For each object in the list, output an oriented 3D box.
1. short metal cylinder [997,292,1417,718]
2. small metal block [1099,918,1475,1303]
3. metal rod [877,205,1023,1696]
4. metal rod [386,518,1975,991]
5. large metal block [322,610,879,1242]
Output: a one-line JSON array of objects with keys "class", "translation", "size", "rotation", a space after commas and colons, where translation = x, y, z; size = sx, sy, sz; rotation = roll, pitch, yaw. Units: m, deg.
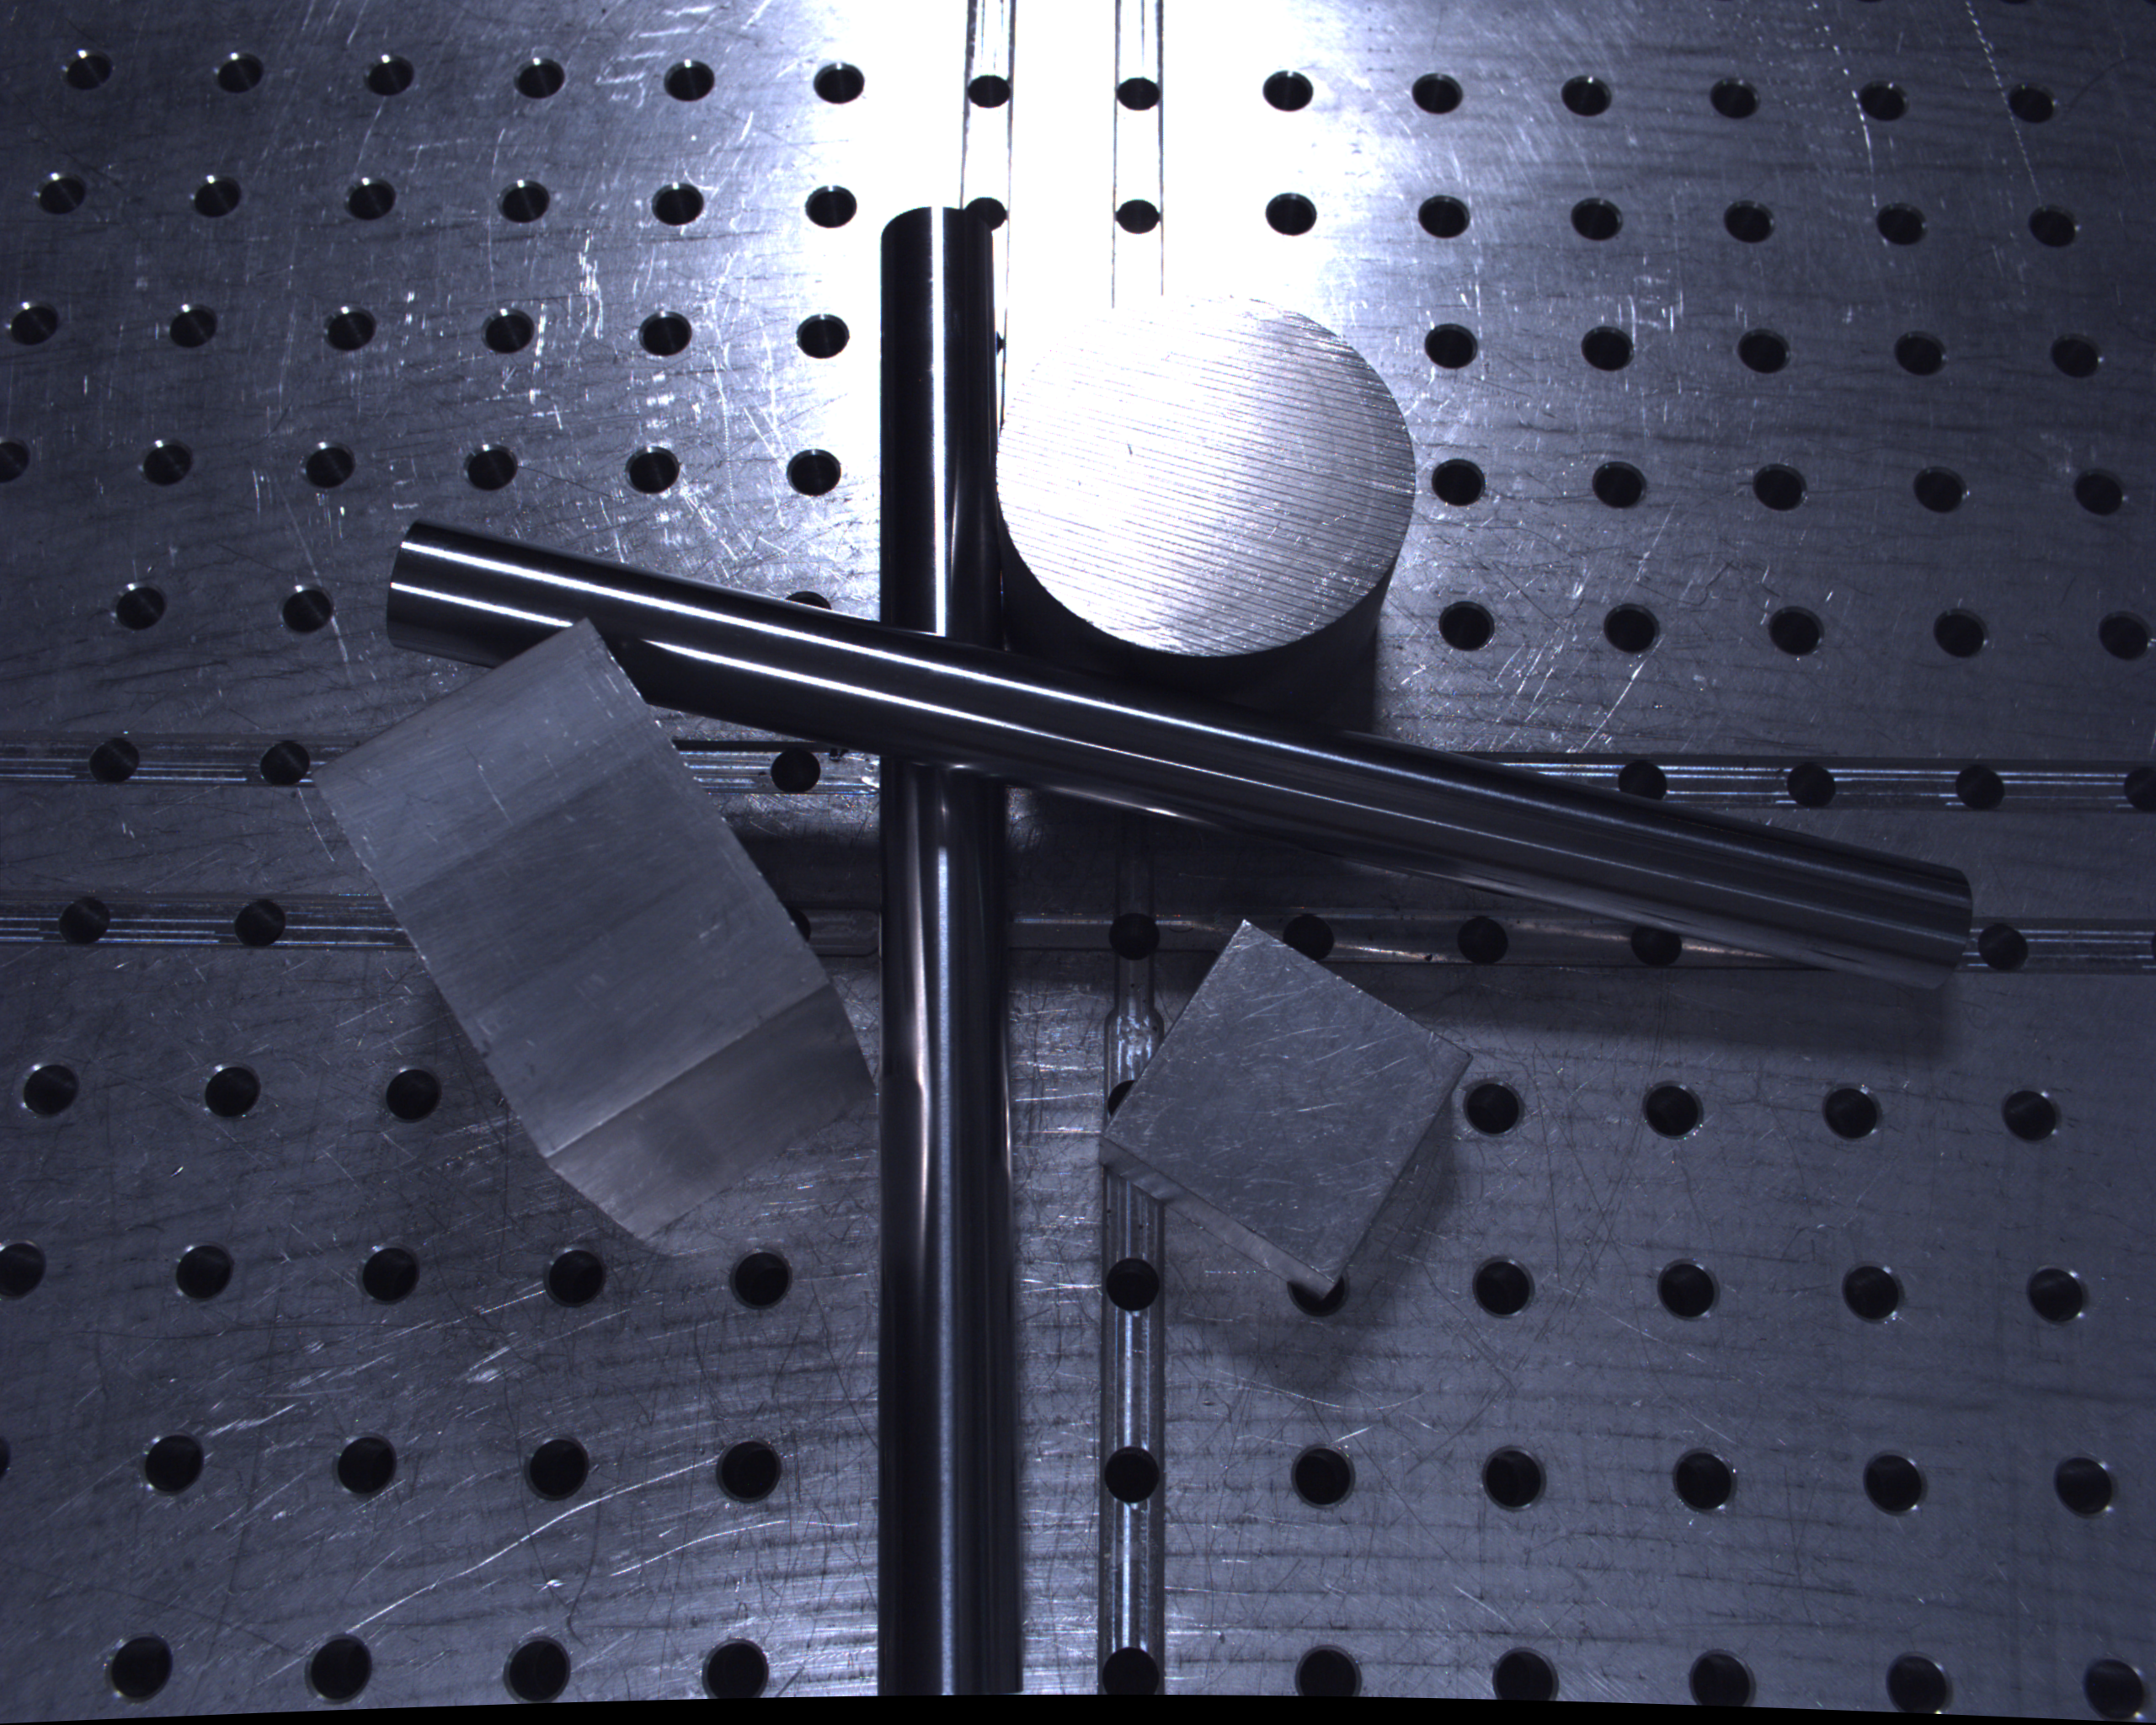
[{"class": "short metal cylinder", "translation": [0.025, -0.067, 0.423], "size": [0.081, 0.050, 0.080], "rotation": [0, 70, 0]}, {"class": "small metal block", "translation": [0.039, 0.047, 0.396], "size": [0.050, 0.025, 0.050], "rotation": [32, 73, 10]}, {"class": "metal rod", "translation": [-0.026, 0.003, 0.410], "size": [0.025, 0.025, 0.299], "rotation": [-1, 70, -1]}, {"class": "metal rod", "translation": [0.023, -0.019, 0.399], "size": [0.302, 0.025, 0.025], "rotation": [12, 70, -4]}, {"class": "large metal block", "translation": [-0.081, 0.015, 0.375], "size": [0.050, 0.080, 0.080], "rotation": [-33, 74, -11]}]
